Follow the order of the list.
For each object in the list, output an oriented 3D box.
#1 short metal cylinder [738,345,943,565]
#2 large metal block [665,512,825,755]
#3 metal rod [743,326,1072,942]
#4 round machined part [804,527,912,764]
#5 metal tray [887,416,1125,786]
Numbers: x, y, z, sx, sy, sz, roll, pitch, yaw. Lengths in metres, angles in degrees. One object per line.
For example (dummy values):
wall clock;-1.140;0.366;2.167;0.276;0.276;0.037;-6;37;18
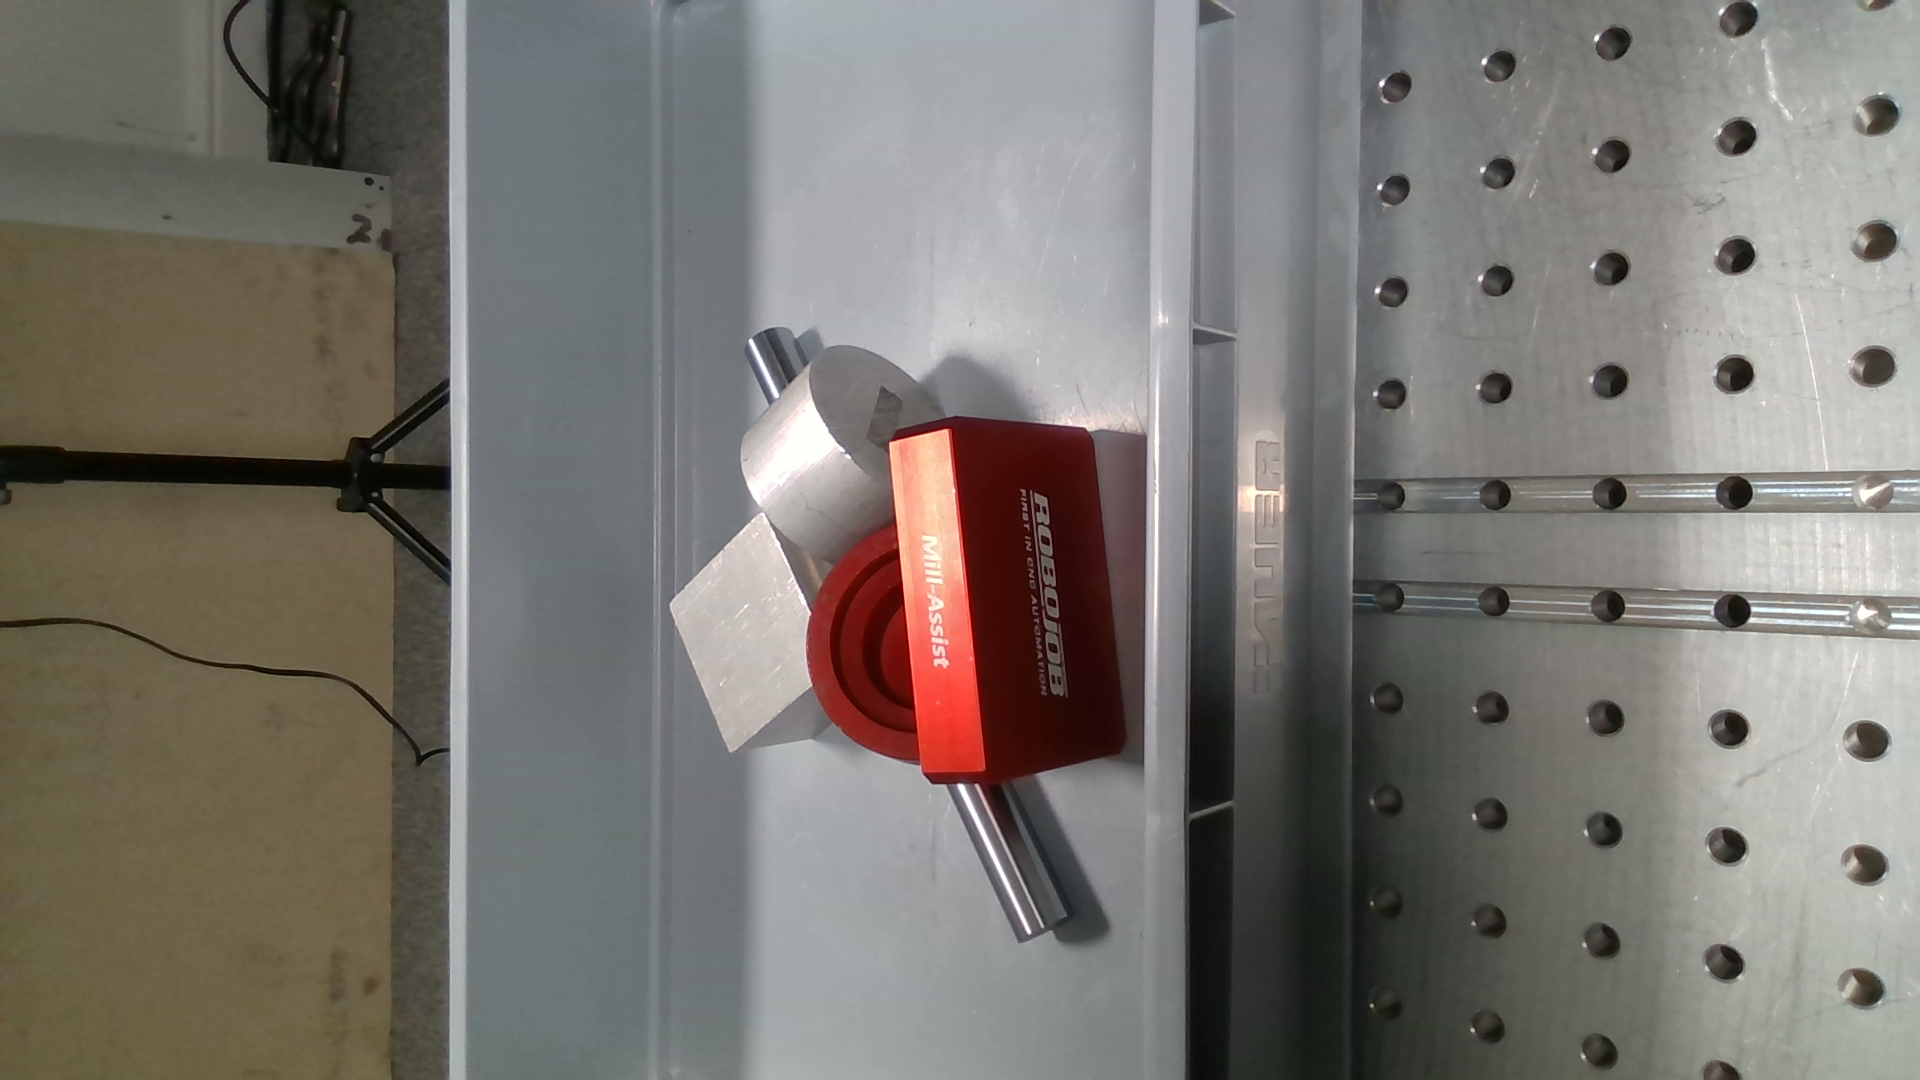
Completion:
short metal cylinder;-0.046;-0.035;0.583;0.050;0.080;0.080;-41;65;33
large metal block;-0.080;0.042;0.631;0.080;0.050;0.080;-41;66;33
metal rod;-0.029;0.031;0.605;0.025;0.025;0.299;-40;66;33
round machined part;-0.010;0.044;0.561;0.098;0.042;0.098;-4;75;14
metal tray;0.019;0.022;0.521;0.030;0.090;0.130;-9;85;40
